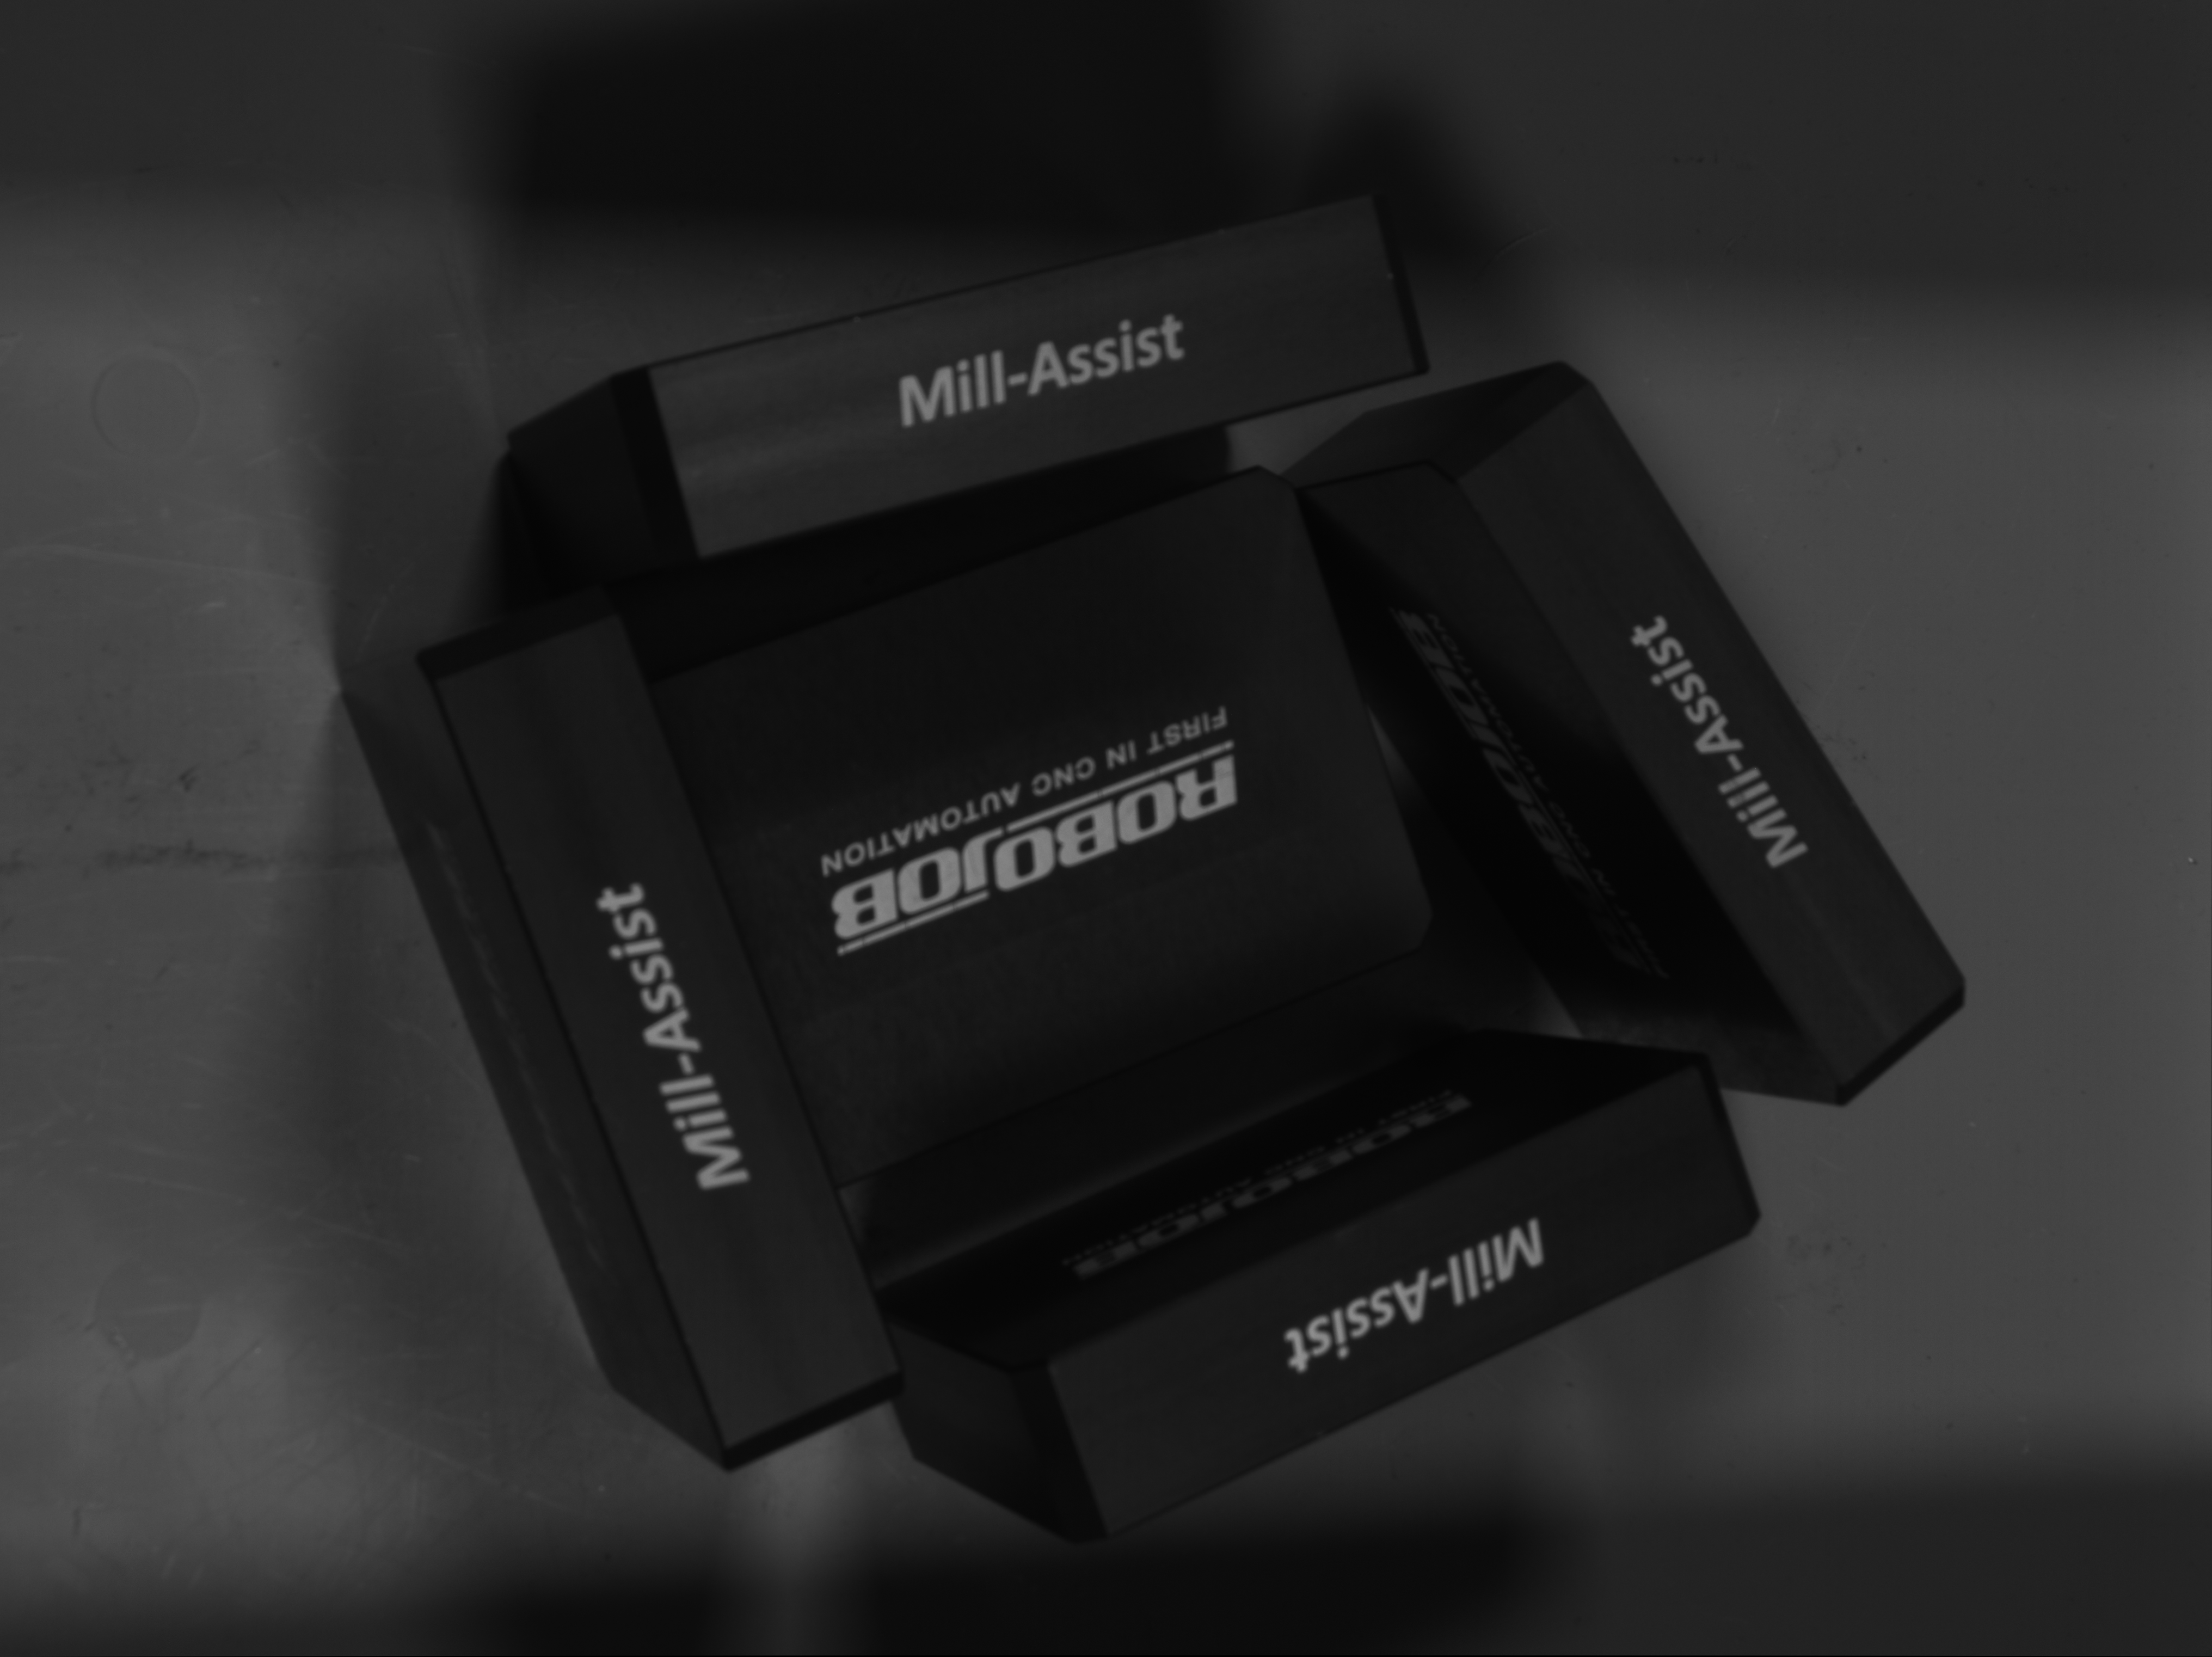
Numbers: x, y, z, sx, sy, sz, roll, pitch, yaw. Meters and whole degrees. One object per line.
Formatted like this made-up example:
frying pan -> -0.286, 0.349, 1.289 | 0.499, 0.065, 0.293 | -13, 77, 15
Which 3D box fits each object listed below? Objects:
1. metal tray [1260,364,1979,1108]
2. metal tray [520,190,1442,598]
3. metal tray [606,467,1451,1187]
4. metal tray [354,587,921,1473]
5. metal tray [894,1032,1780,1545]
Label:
metal tray -> 0.088, -0.014, 0.640 | 0.030, 0.090, 0.130 | -37, 102, -15
metal tray -> -0.022, -0.070, 0.599 | 0.130, 0.090, 0.030 | -17, 95, -19
metal tray -> -0.014, 0.000, 0.633 | 0.130, 0.030, 0.090 | -21, 97, -19
metal tray -> -0.076, 0.030, 0.579 | 0.030, 0.090, 0.130 | -22, 97, -18
metal tray -> 0.036, 0.074, 0.620 | 0.130, 0.090, 0.030 | -22, 97, -19
